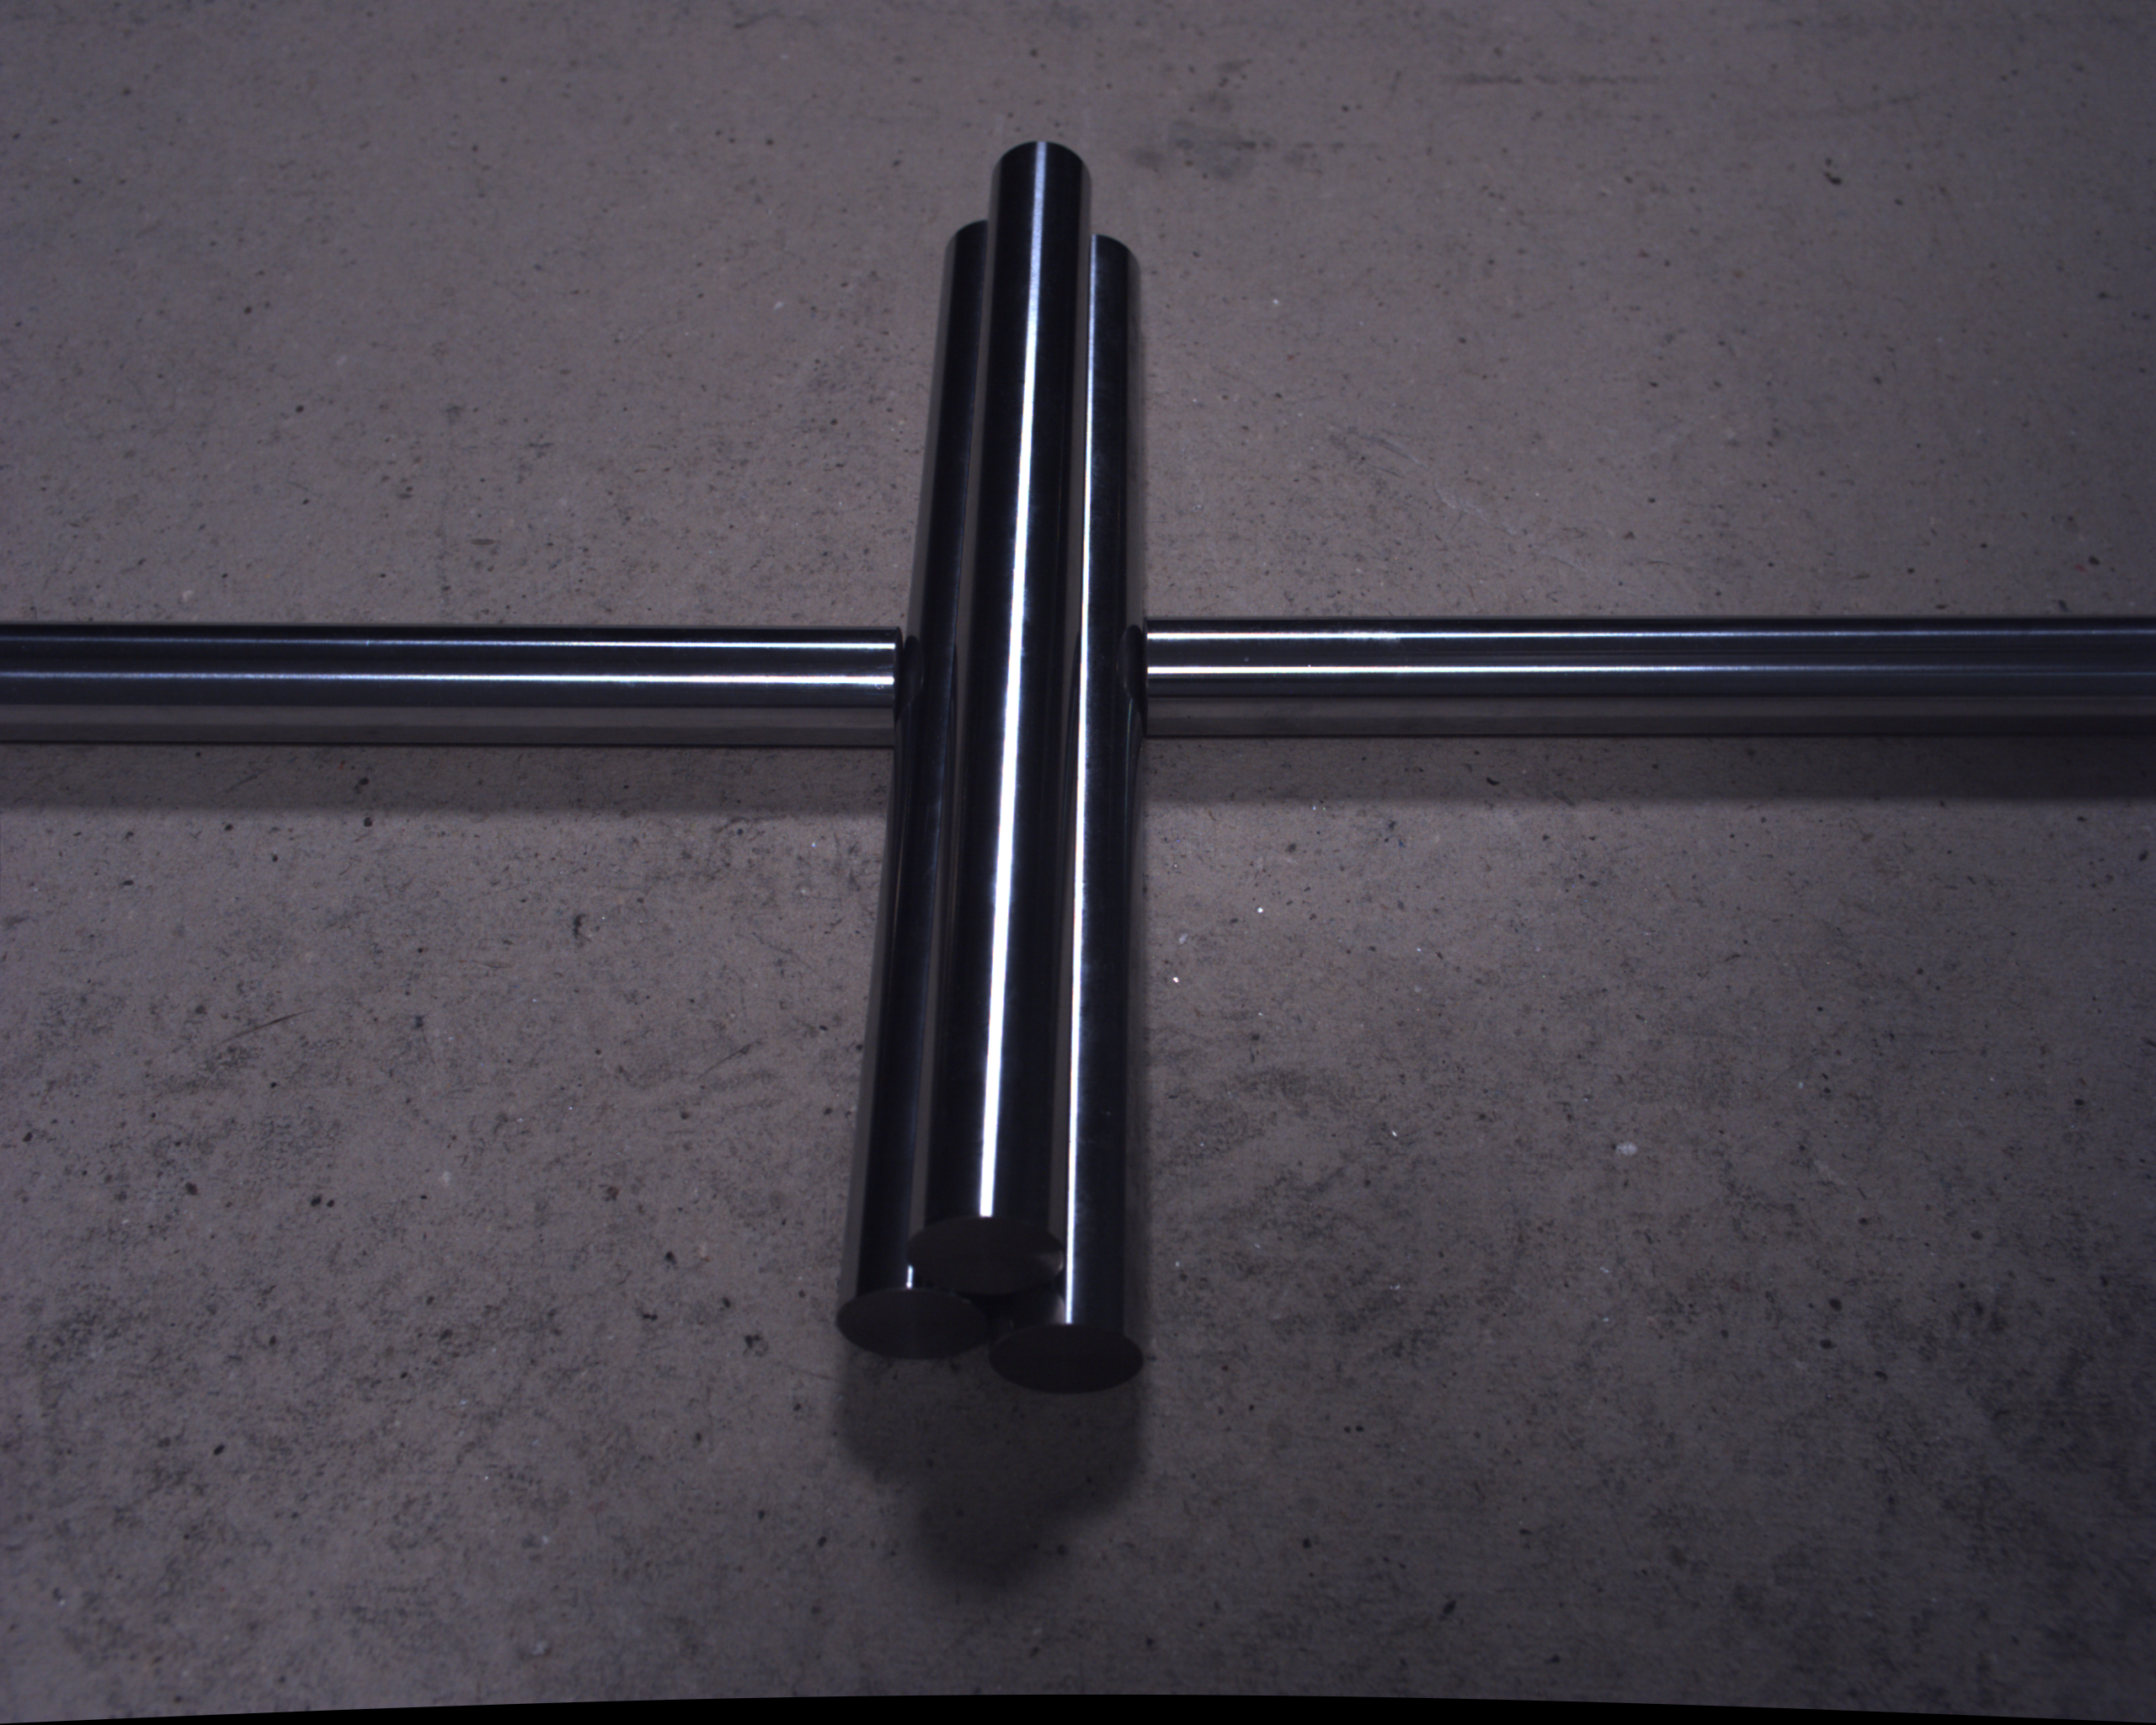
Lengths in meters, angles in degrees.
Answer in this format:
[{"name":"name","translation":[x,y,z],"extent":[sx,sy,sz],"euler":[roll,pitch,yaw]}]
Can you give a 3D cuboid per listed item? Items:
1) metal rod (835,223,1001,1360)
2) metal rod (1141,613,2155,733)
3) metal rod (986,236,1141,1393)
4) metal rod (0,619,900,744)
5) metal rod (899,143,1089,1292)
[{"name":"metal rod","translation":[-0.024,-0.039,0.438],"extent":[0.025,0.025,0.300],"euler":[1,50,0]},{"name":"metal rod","translation":[0.164,-0.040,0.440],"extent":[0.302,0.025,0.025],"euler":[0,50,-1]},{"name":"metal rod","translation":[0.000,-0.034,0.434],"extent":[0.025,0.025,0.300],"euler":[1,50,0]},{"name":"metal rod","translation":[-0.188,-0.038,0.434],"extent":[0.302,0.025,0.025],"euler":[0,50,0]},{"name":"metal rod","translation":[-0.013,-0.053,0.423],"extent":[0.025,0.025,0.300],"euler":[1,50,0]}]
